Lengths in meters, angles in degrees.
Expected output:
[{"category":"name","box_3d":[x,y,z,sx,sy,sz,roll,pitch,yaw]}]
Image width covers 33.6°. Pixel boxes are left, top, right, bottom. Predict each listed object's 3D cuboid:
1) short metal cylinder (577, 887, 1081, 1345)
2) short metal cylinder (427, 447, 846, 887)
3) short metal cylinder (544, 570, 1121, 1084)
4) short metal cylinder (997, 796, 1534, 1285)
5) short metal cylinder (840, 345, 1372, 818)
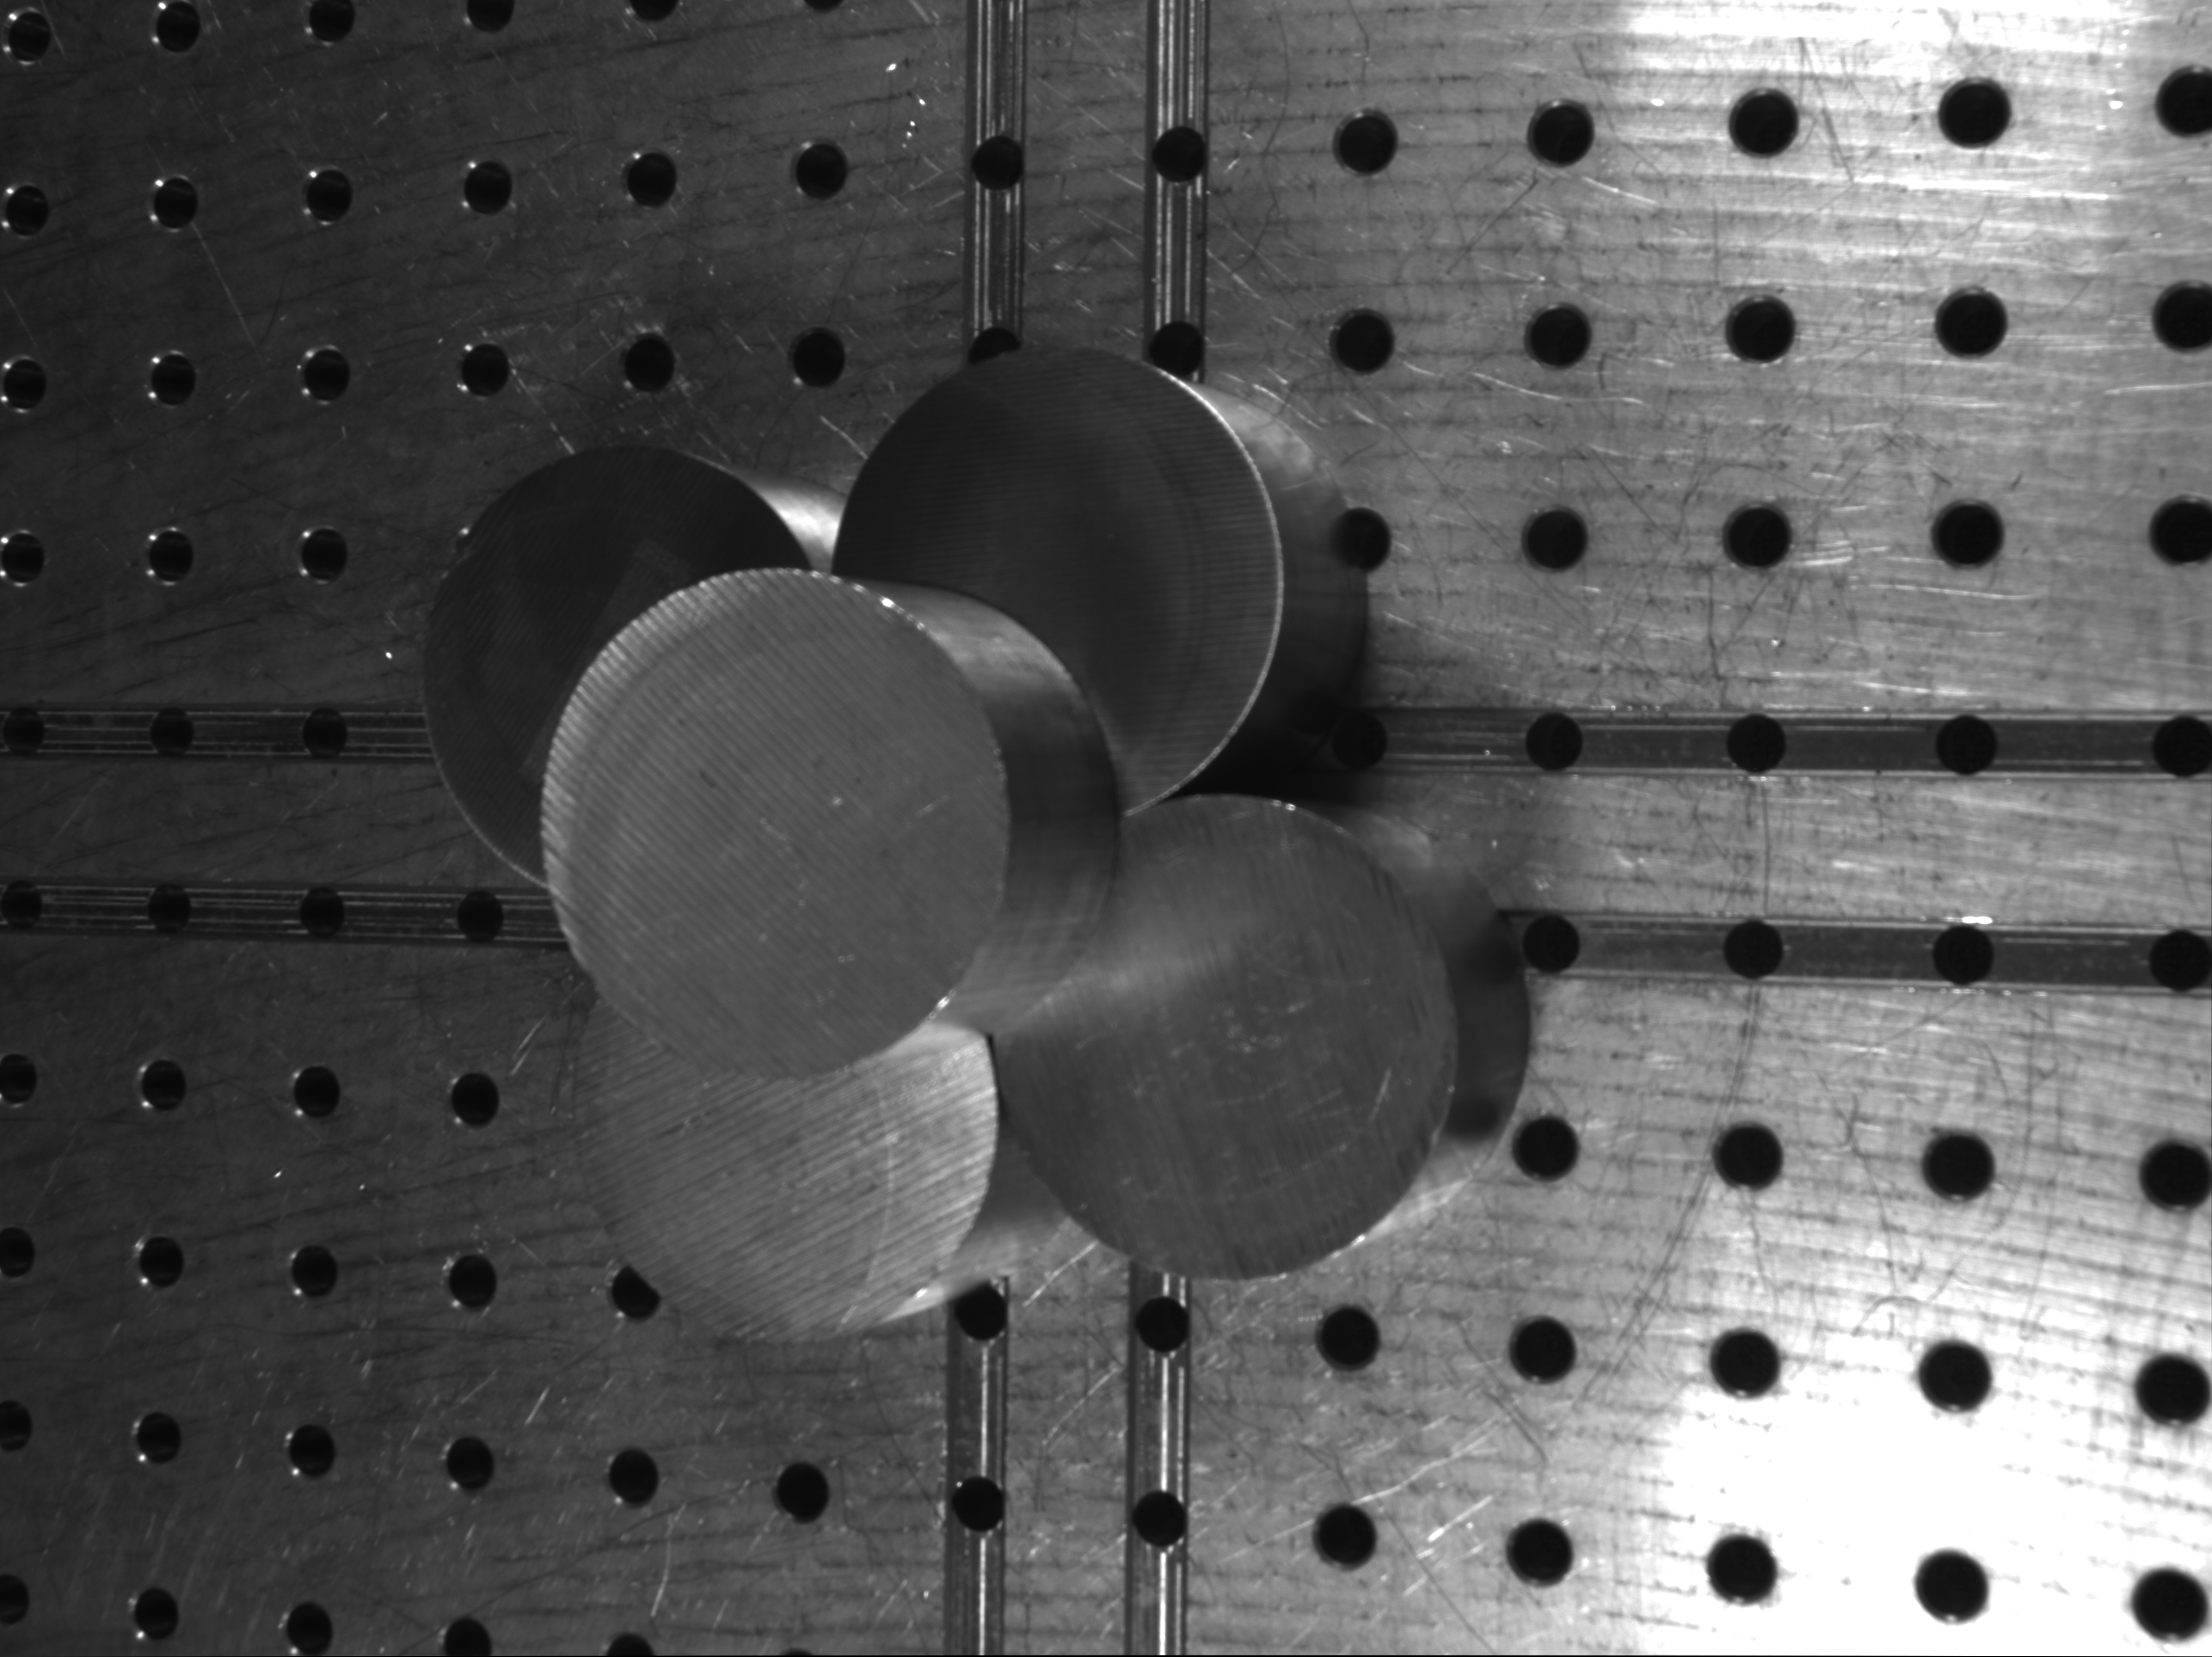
[{"category":"short metal cylinder","box_3d":[-0.046,0.048,0.649,0.080,0.050,0.080,0,90,20]},{"category":"short metal cylinder","box_3d":[-0.074,-0.026,0.659,0.080,0.050,0.080,0,90,20]},{"category":"short metal cylinder","box_3d":[-0.044,-0.001,0.594,0.080,0.050,0.080,0,91,19]},{"category":"short metal cylinder","box_3d":[0.028,0.035,0.623,0.080,0.050,0.080,0,90,20]},{"category":"short metal cylinder","box_3d":[0.001,-0.040,0.633,0.080,0.050,0.080,0,90,20]}]
